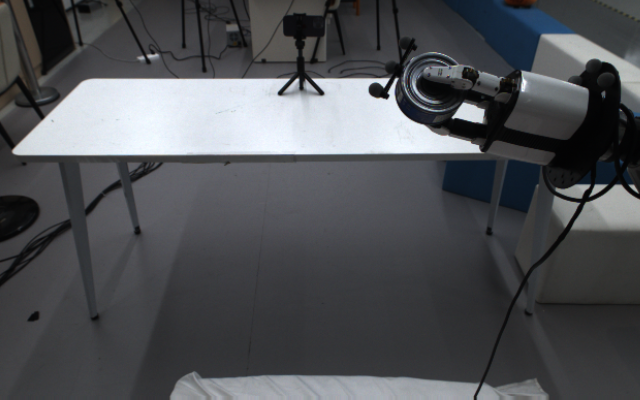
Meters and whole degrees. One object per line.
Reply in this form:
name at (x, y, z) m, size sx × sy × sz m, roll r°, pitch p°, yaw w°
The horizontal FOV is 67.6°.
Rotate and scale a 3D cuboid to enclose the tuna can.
tuna can at (0.141, -0.142, 0.610) m, size 0.085 × 0.034 × 0.085 m, roll 1°, pitch 75°, yaw -5°
